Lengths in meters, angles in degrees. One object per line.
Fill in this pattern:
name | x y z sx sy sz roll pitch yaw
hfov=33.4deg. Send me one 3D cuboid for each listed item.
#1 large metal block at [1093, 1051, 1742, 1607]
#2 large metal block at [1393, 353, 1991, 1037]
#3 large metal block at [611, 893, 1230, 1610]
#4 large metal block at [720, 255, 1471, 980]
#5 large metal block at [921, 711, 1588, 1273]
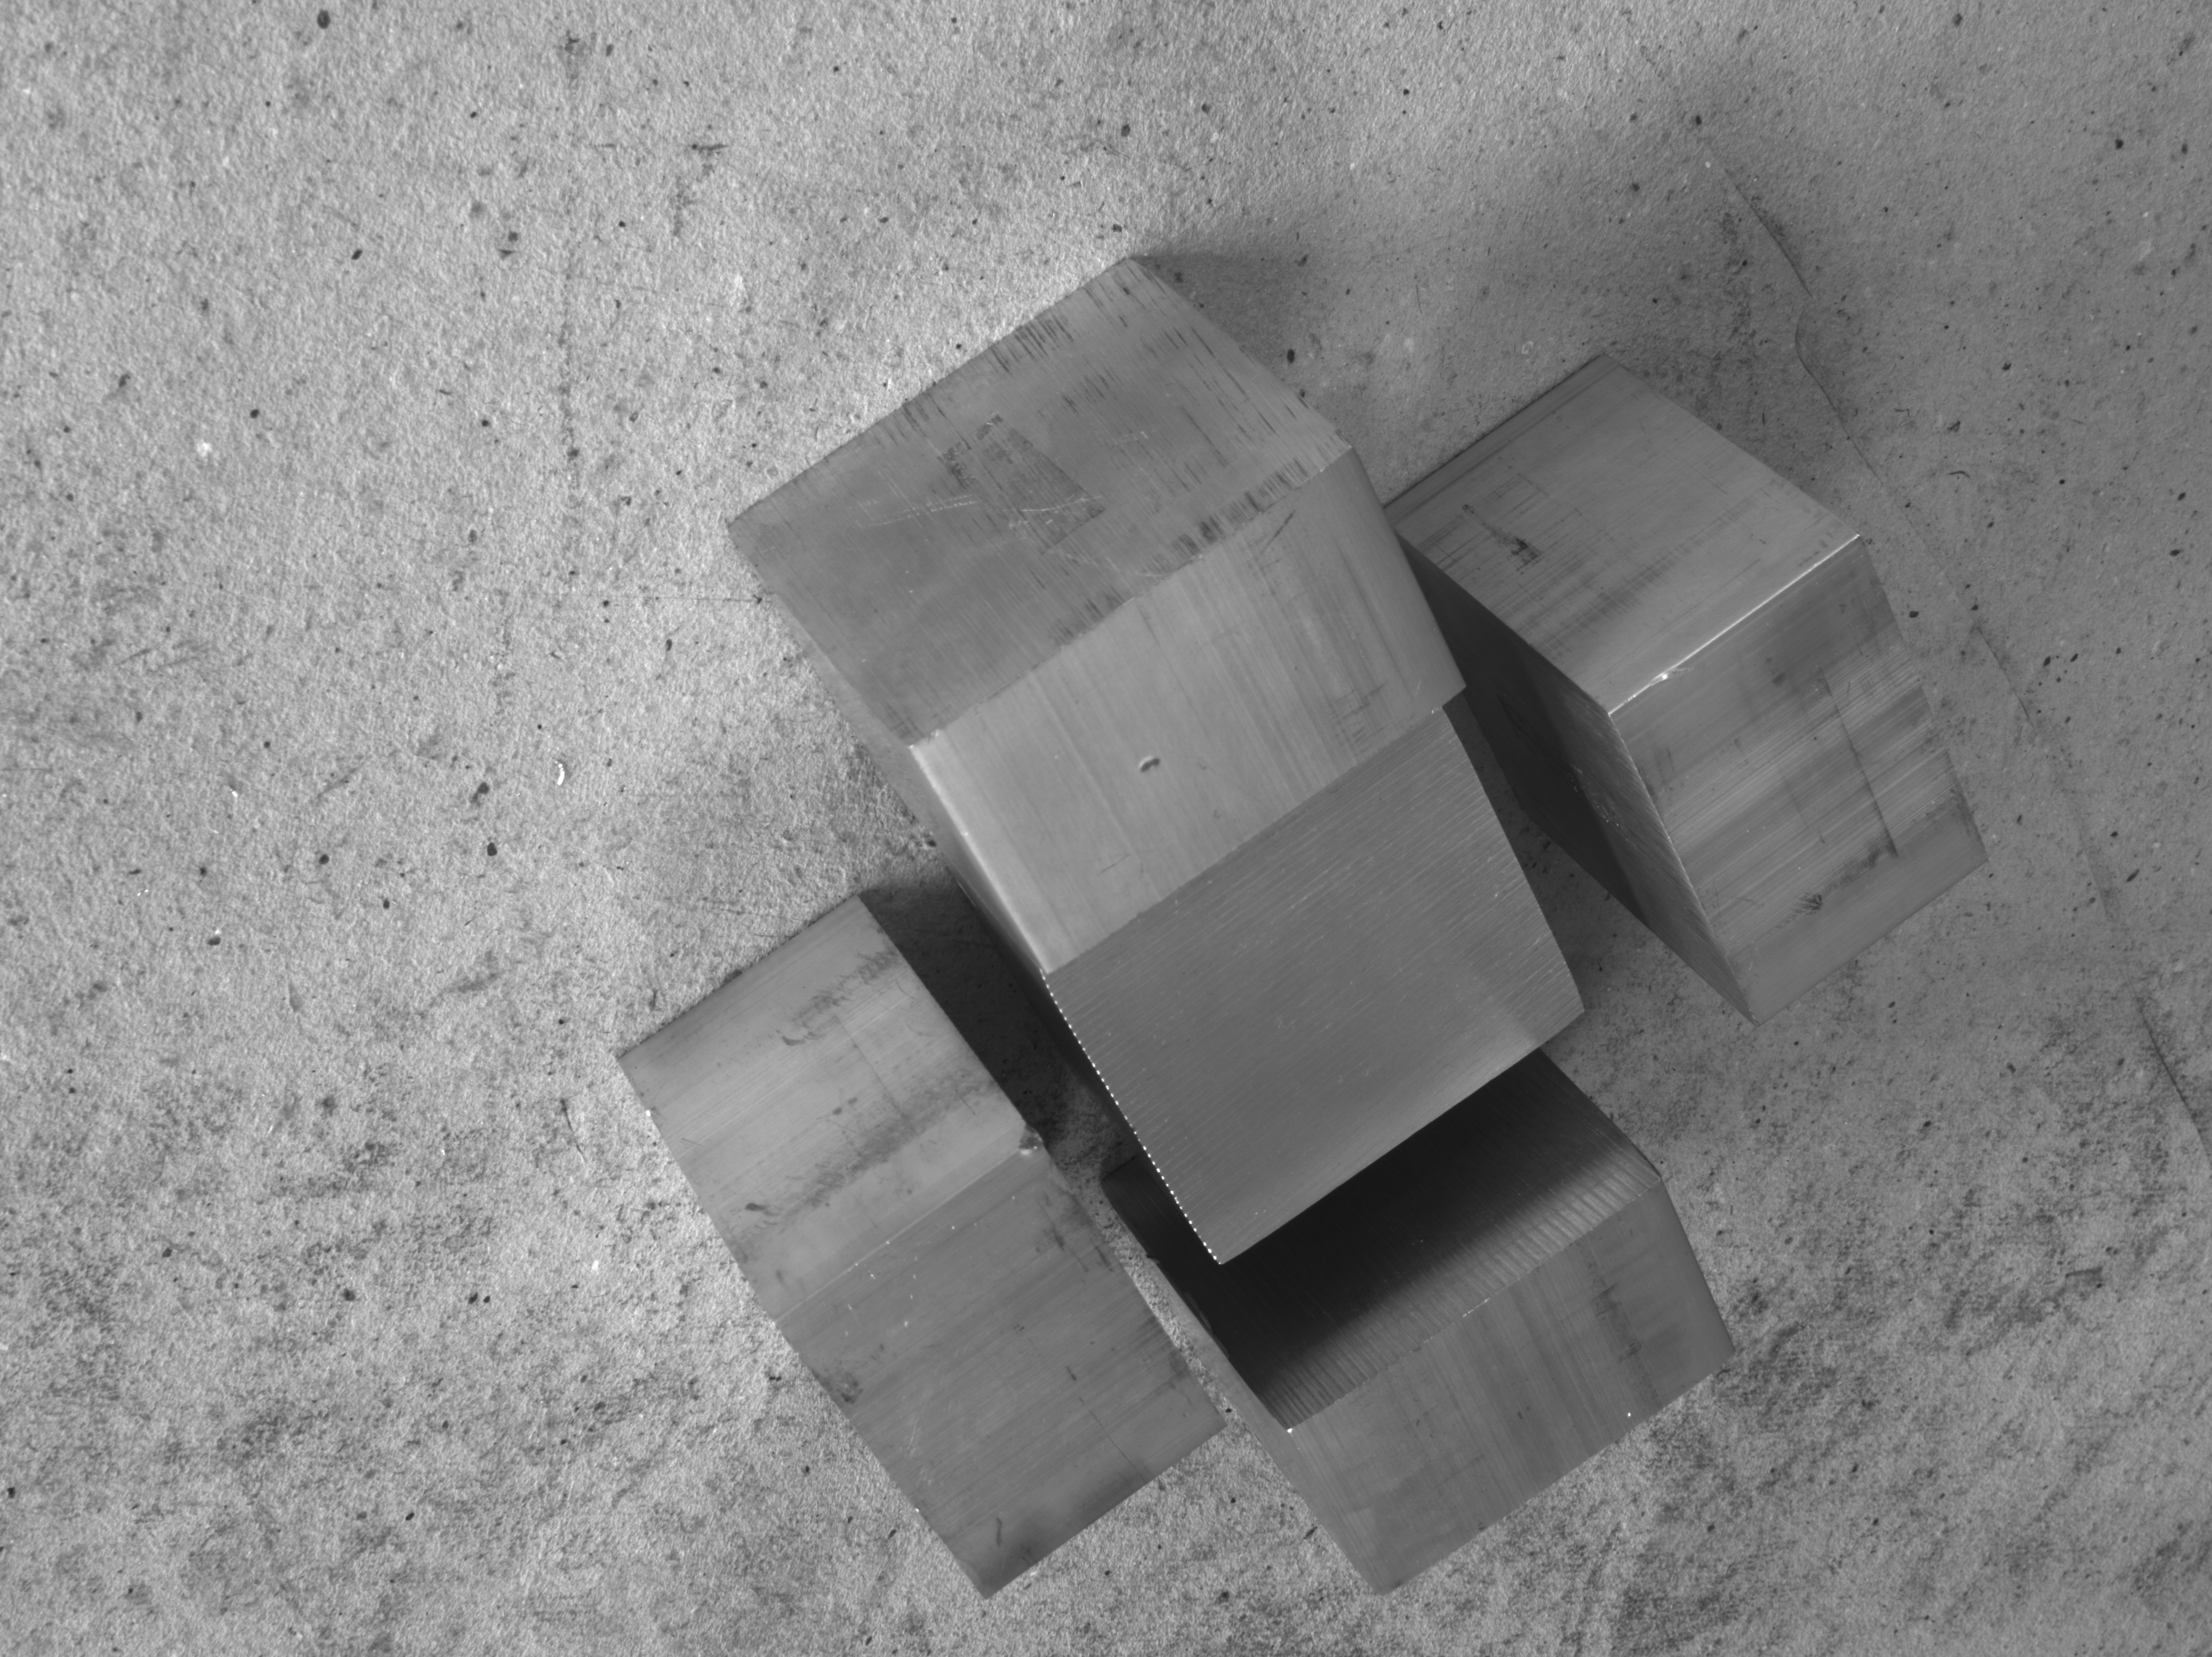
large metal block | 0.057 0.082 0.682 0.080 0.080 0.050 -33 128 -7
large metal block | 0.099 -0.024 0.641 0.050 0.080 0.080 -36 129 -5
large metal block | -0.032 0.071 0.628 0.050 0.080 0.080 -35 129 -5
large metal block | -0.003 -0.035 0.580 0.080 0.080 0.050 -34 128 -6
large metal block | 0.026 0.016 0.643 0.080 0.050 0.080 -34 129 -6
